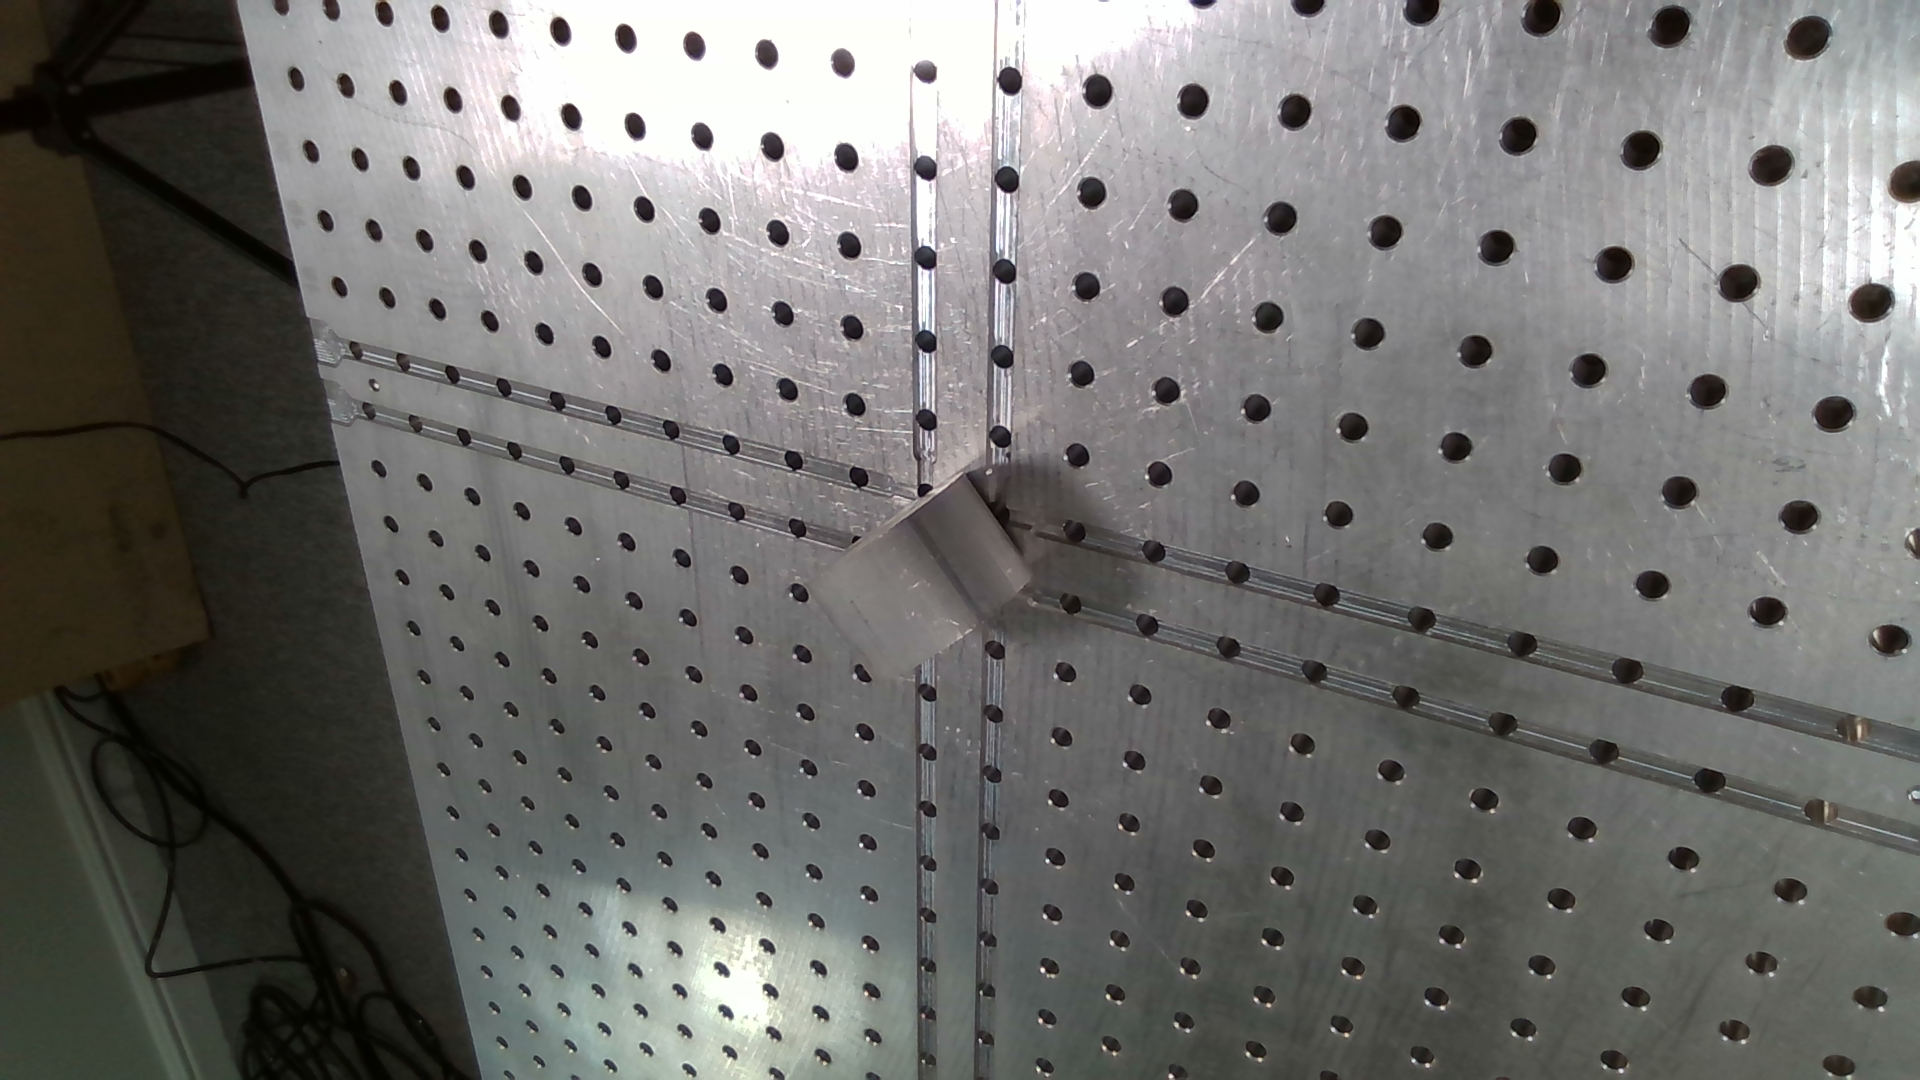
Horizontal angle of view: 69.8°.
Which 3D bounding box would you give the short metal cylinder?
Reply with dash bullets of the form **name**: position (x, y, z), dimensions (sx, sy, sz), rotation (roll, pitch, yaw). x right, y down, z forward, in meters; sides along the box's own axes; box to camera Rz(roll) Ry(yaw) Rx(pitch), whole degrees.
- **short metal cylinder**: position (-0.018, 0.015, 0.566), dimensions (0.080, 0.080, 0.050), rotation (-31, 97, 39)
